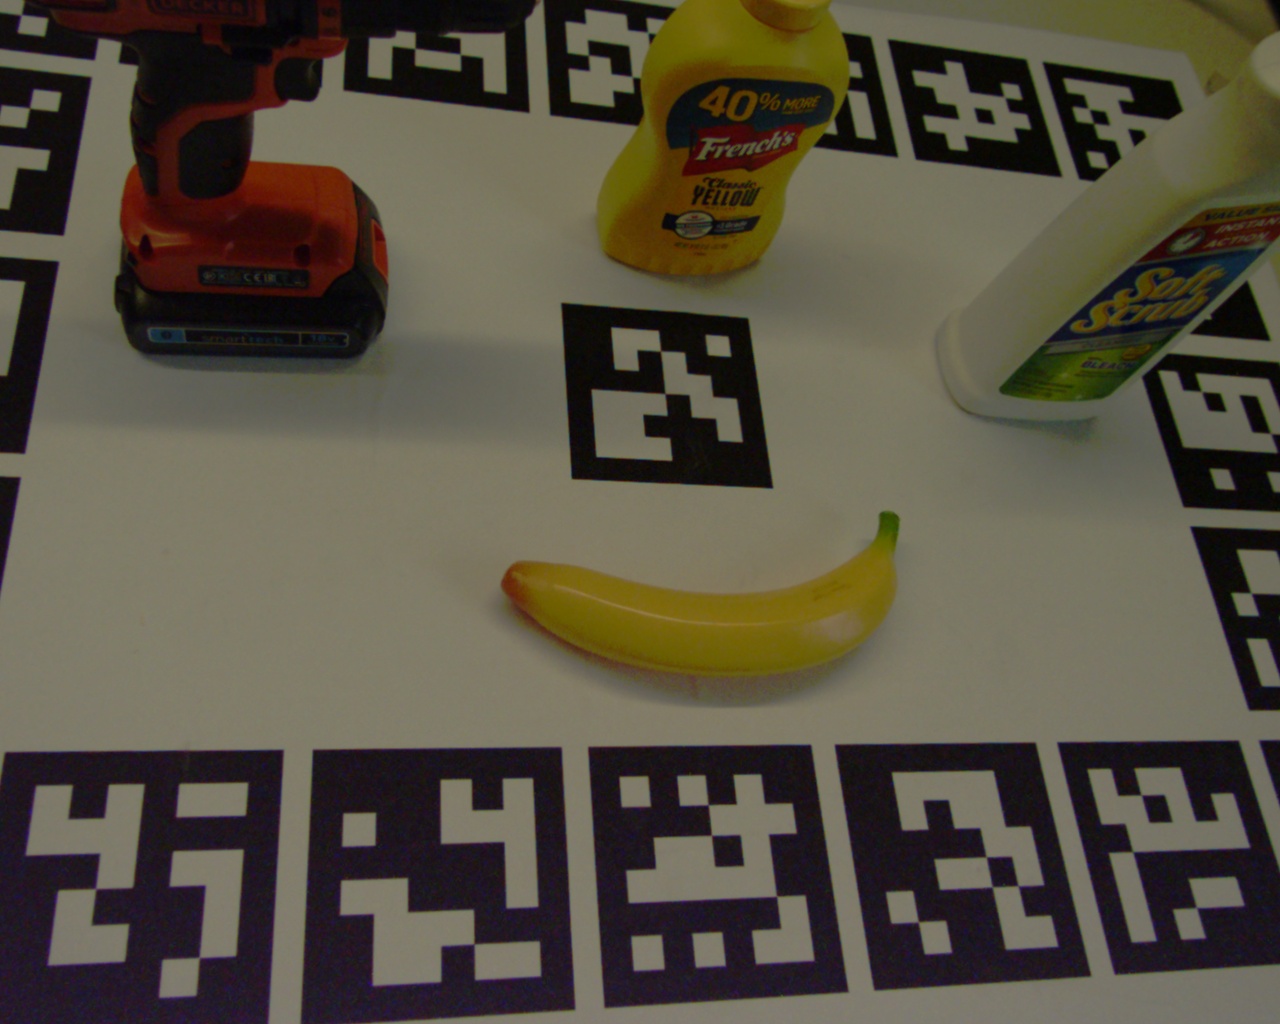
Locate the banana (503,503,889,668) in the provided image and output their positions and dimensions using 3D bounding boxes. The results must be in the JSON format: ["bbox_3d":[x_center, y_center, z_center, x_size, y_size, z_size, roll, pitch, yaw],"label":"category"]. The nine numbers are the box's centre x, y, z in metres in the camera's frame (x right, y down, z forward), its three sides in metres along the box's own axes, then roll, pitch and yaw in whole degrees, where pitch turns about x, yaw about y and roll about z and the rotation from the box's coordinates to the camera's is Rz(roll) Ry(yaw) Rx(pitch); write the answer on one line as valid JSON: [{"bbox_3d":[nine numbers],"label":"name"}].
[{"bbox_3d":[0.035,0.038,0.538,0.196,0.039,0.074,-4,68,-14],"label":"banana"}]

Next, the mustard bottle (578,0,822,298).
[{"bbox_3d":[0.036,-0.184,0.570,0.095,0.192,0.059,-5,67,-20],"label":"mustard bottle"}]

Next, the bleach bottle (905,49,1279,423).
[{"bbox_3d":[0.234,-0.133,0.562,0.102,0.251,0.068,10,63,-12],"label":"bleach bottle"}]

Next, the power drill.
[{"bbox_3d":[-0.134,-0.159,0.478,0.183,0.187,0.057,-5,67,-13],"label":"power drill"}]
